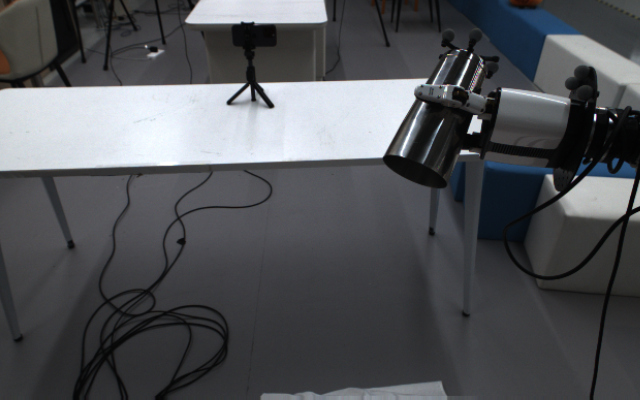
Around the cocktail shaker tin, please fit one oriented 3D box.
[{"bbox_3d":[0.163,-0.115,0.650,0.093,0.093,0.170,21,81,25],"label":"cocktail shaker tin"}]
